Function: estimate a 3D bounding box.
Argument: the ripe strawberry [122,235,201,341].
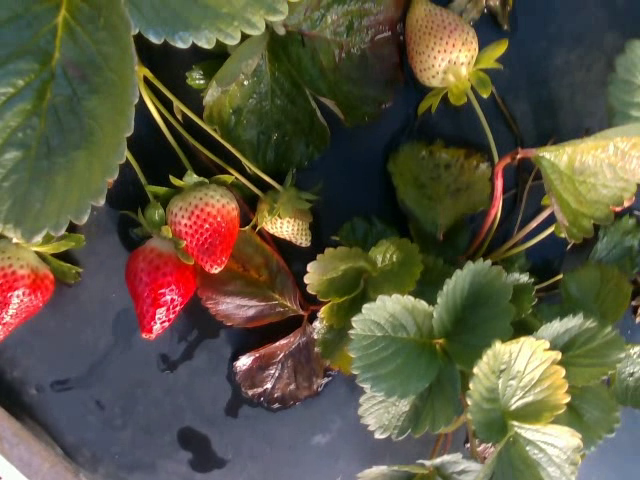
[{"bbox_3d":[-0.088,0.027,0.326,0.044,0.055,0.041,-2,-17,38],"label":"ripe strawberry"}]
